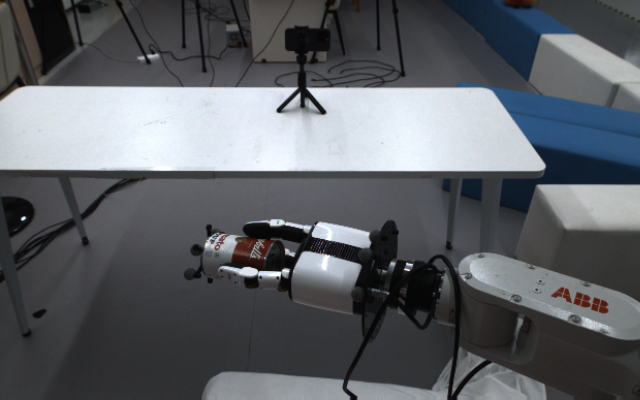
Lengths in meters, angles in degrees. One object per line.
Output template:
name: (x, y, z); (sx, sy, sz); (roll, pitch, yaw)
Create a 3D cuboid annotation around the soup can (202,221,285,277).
soup can: (-0.107, 0.086, 0.687); (0.101, 0.067, 0.067); (6, 34, 18)
